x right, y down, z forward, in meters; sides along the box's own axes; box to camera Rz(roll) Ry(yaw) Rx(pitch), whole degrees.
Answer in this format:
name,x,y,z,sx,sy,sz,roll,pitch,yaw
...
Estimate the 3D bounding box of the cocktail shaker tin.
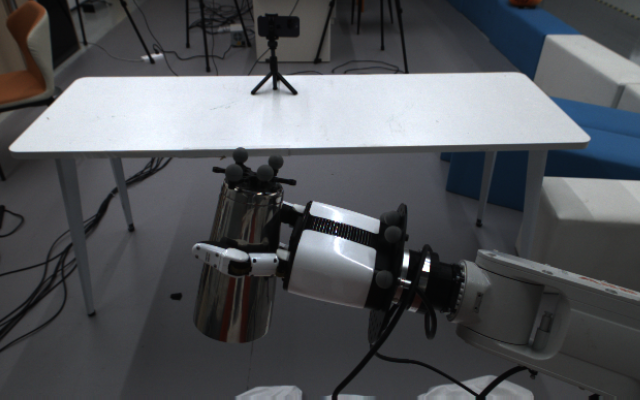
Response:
name,x,y,z,sx,sy,sz,roll,pitch,yaw
cocktail shaker tin,-0.085,0.062,0.543,0.093,0.170,0.093,11,19,-4
